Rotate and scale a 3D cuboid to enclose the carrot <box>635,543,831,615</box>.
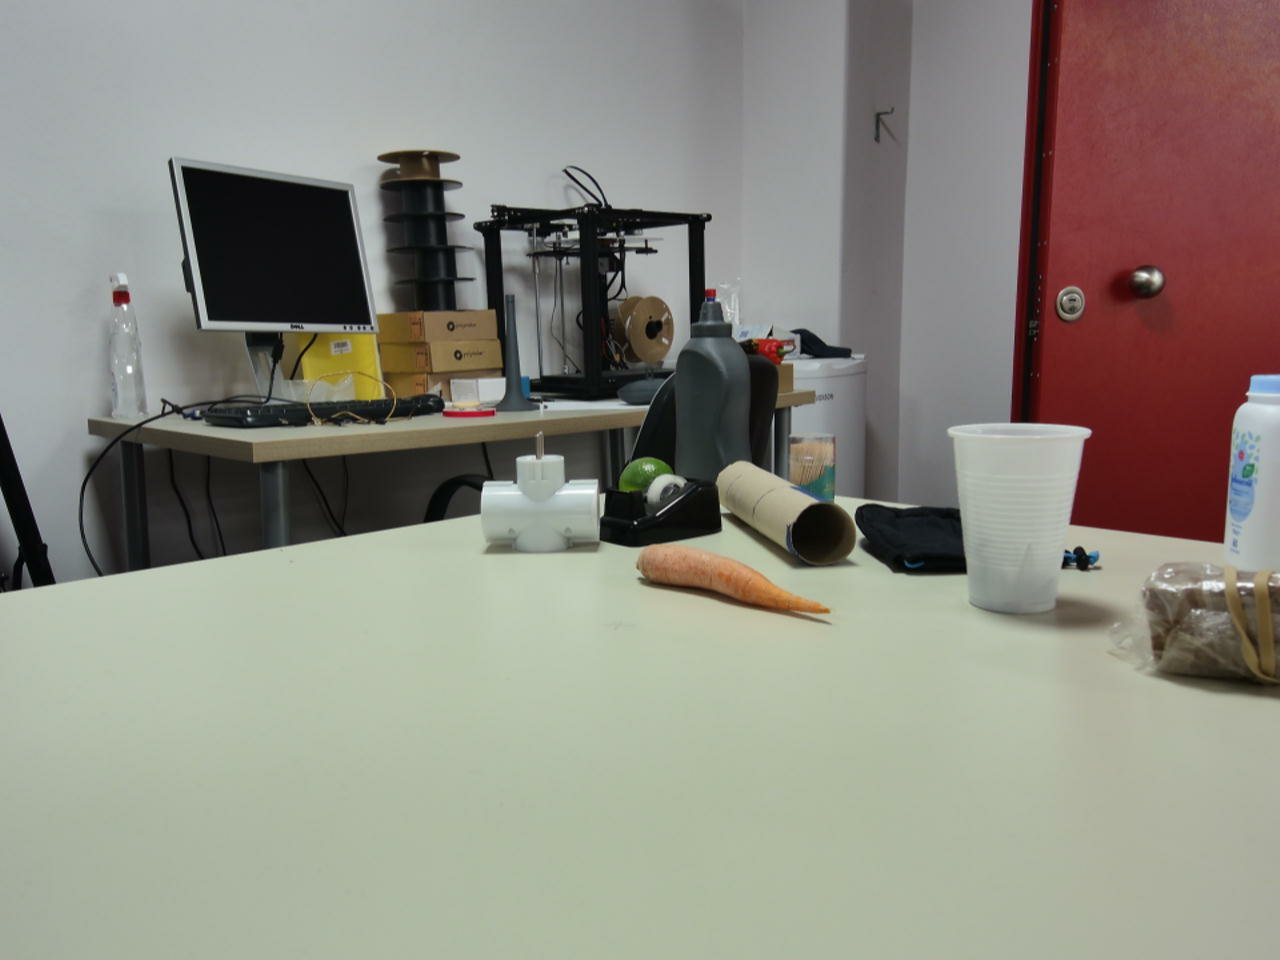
[{"bbox_3d":[0.056,0.062,0.635,0.031,0.029,0.163,-6,9,-43],"label":"carrot"}]
